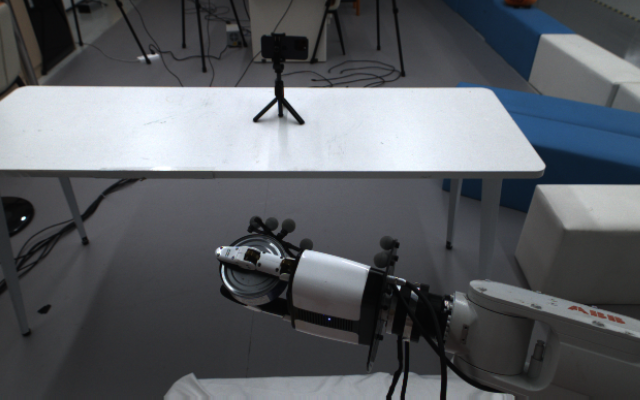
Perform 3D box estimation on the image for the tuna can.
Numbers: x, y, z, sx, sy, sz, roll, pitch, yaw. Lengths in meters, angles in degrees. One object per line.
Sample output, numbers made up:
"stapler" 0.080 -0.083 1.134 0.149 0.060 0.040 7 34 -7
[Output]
"tuna can" -0.079 0.086 0.609 0.085 0.034 0.085 -4 56 6
